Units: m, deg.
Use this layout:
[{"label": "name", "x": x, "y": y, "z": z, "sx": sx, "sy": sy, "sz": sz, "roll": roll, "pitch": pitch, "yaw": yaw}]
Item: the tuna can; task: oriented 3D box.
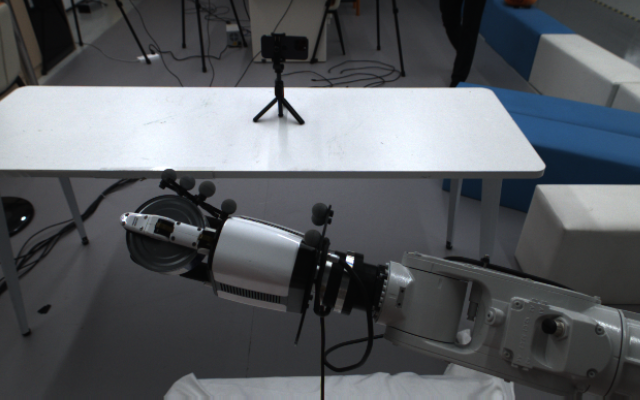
[{"label": "tuna can", "x": -0.163, "y": 0.038, "z": 0.533, "sx": 0.085, "sy": 0.034, "sz": 0.085, "roll": 0, "pitch": 72, "yaw": 0}]
